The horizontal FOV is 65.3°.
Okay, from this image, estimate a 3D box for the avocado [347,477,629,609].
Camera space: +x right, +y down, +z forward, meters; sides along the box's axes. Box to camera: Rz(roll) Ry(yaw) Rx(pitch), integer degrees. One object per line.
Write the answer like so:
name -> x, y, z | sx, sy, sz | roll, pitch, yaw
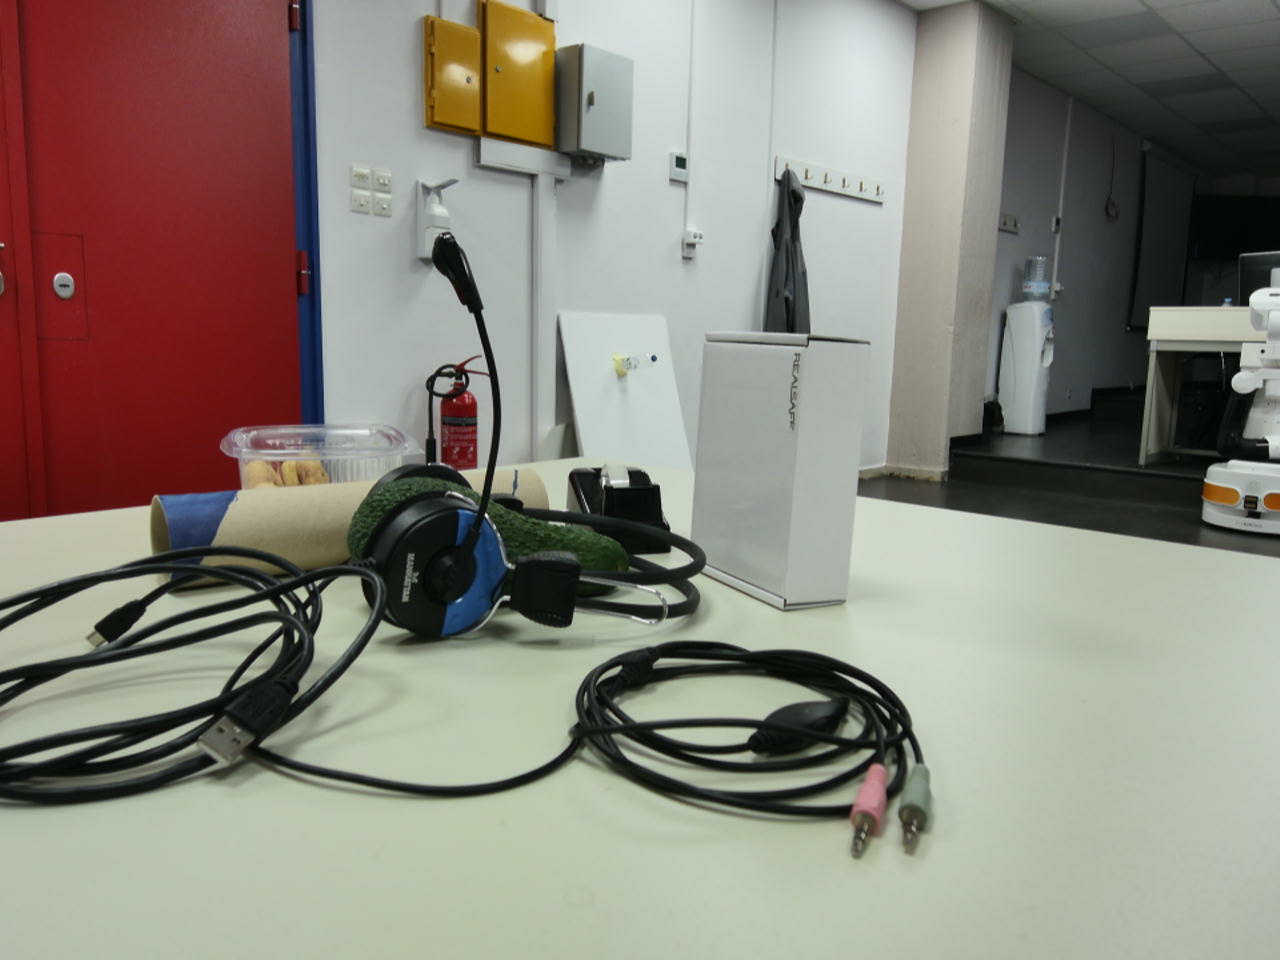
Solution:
avocado -> -0.076, 0.029, 0.507 | 0.141, 0.067, 0.063 | -4, 8, -34
